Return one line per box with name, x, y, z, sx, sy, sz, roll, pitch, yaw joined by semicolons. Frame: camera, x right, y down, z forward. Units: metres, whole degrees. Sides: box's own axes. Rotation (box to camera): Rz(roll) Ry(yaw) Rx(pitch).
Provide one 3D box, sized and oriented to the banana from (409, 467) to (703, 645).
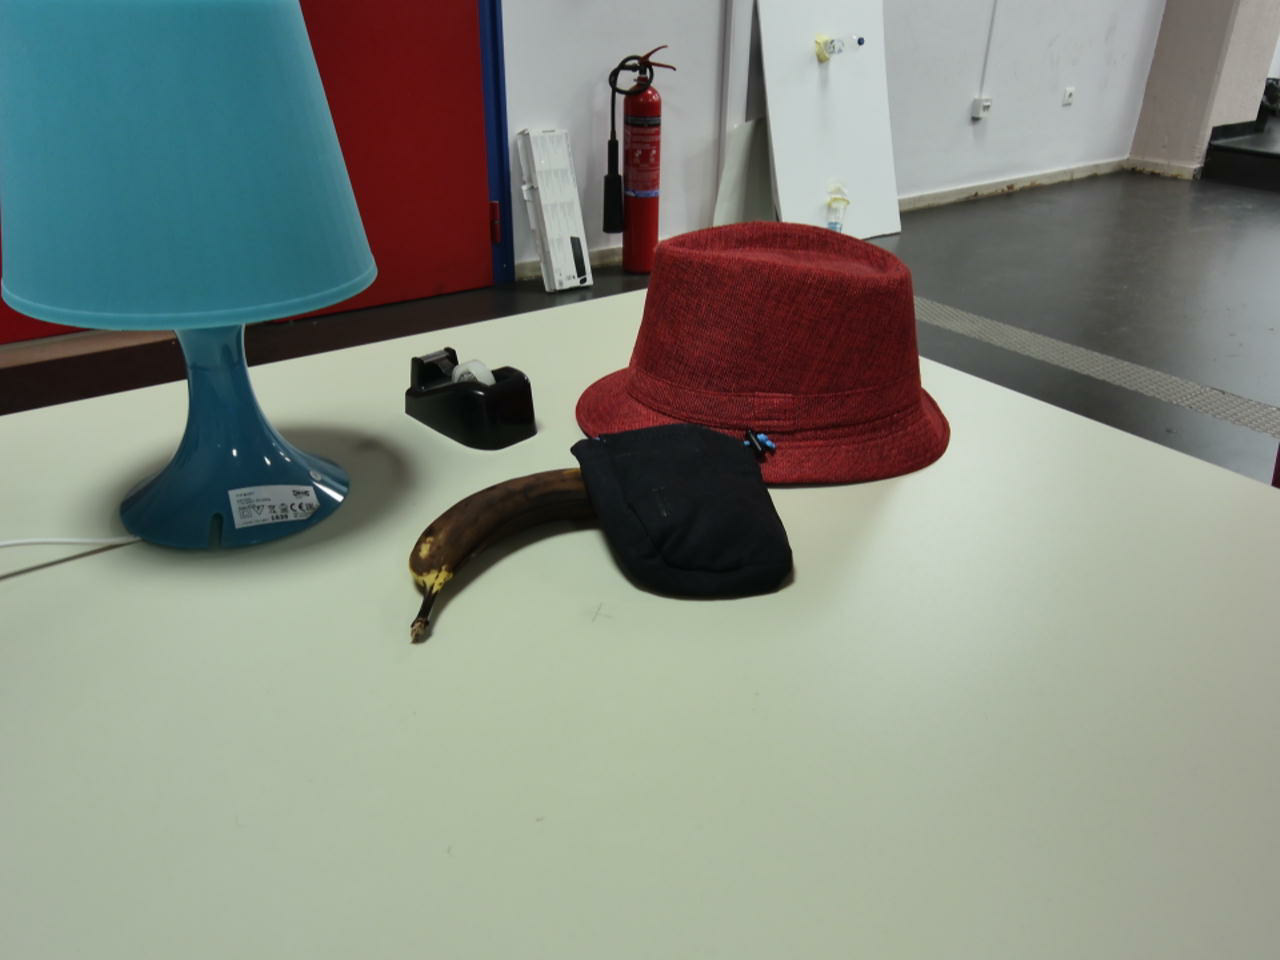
banana;-0.060;0.025;0.565;0.188;0.034;0.091;-17;31;-32
